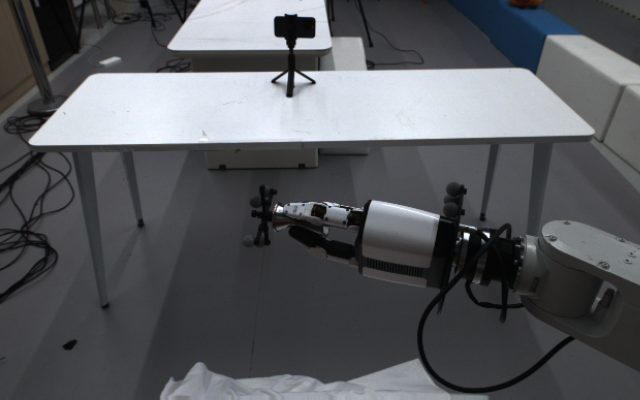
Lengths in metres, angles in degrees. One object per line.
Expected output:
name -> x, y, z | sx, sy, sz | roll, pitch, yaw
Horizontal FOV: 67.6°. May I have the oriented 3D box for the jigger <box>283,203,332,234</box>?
jigger -> -0.017, 0.021, 0.629 | 0.071, 0.043, 0.043 | 4, 34, 13
